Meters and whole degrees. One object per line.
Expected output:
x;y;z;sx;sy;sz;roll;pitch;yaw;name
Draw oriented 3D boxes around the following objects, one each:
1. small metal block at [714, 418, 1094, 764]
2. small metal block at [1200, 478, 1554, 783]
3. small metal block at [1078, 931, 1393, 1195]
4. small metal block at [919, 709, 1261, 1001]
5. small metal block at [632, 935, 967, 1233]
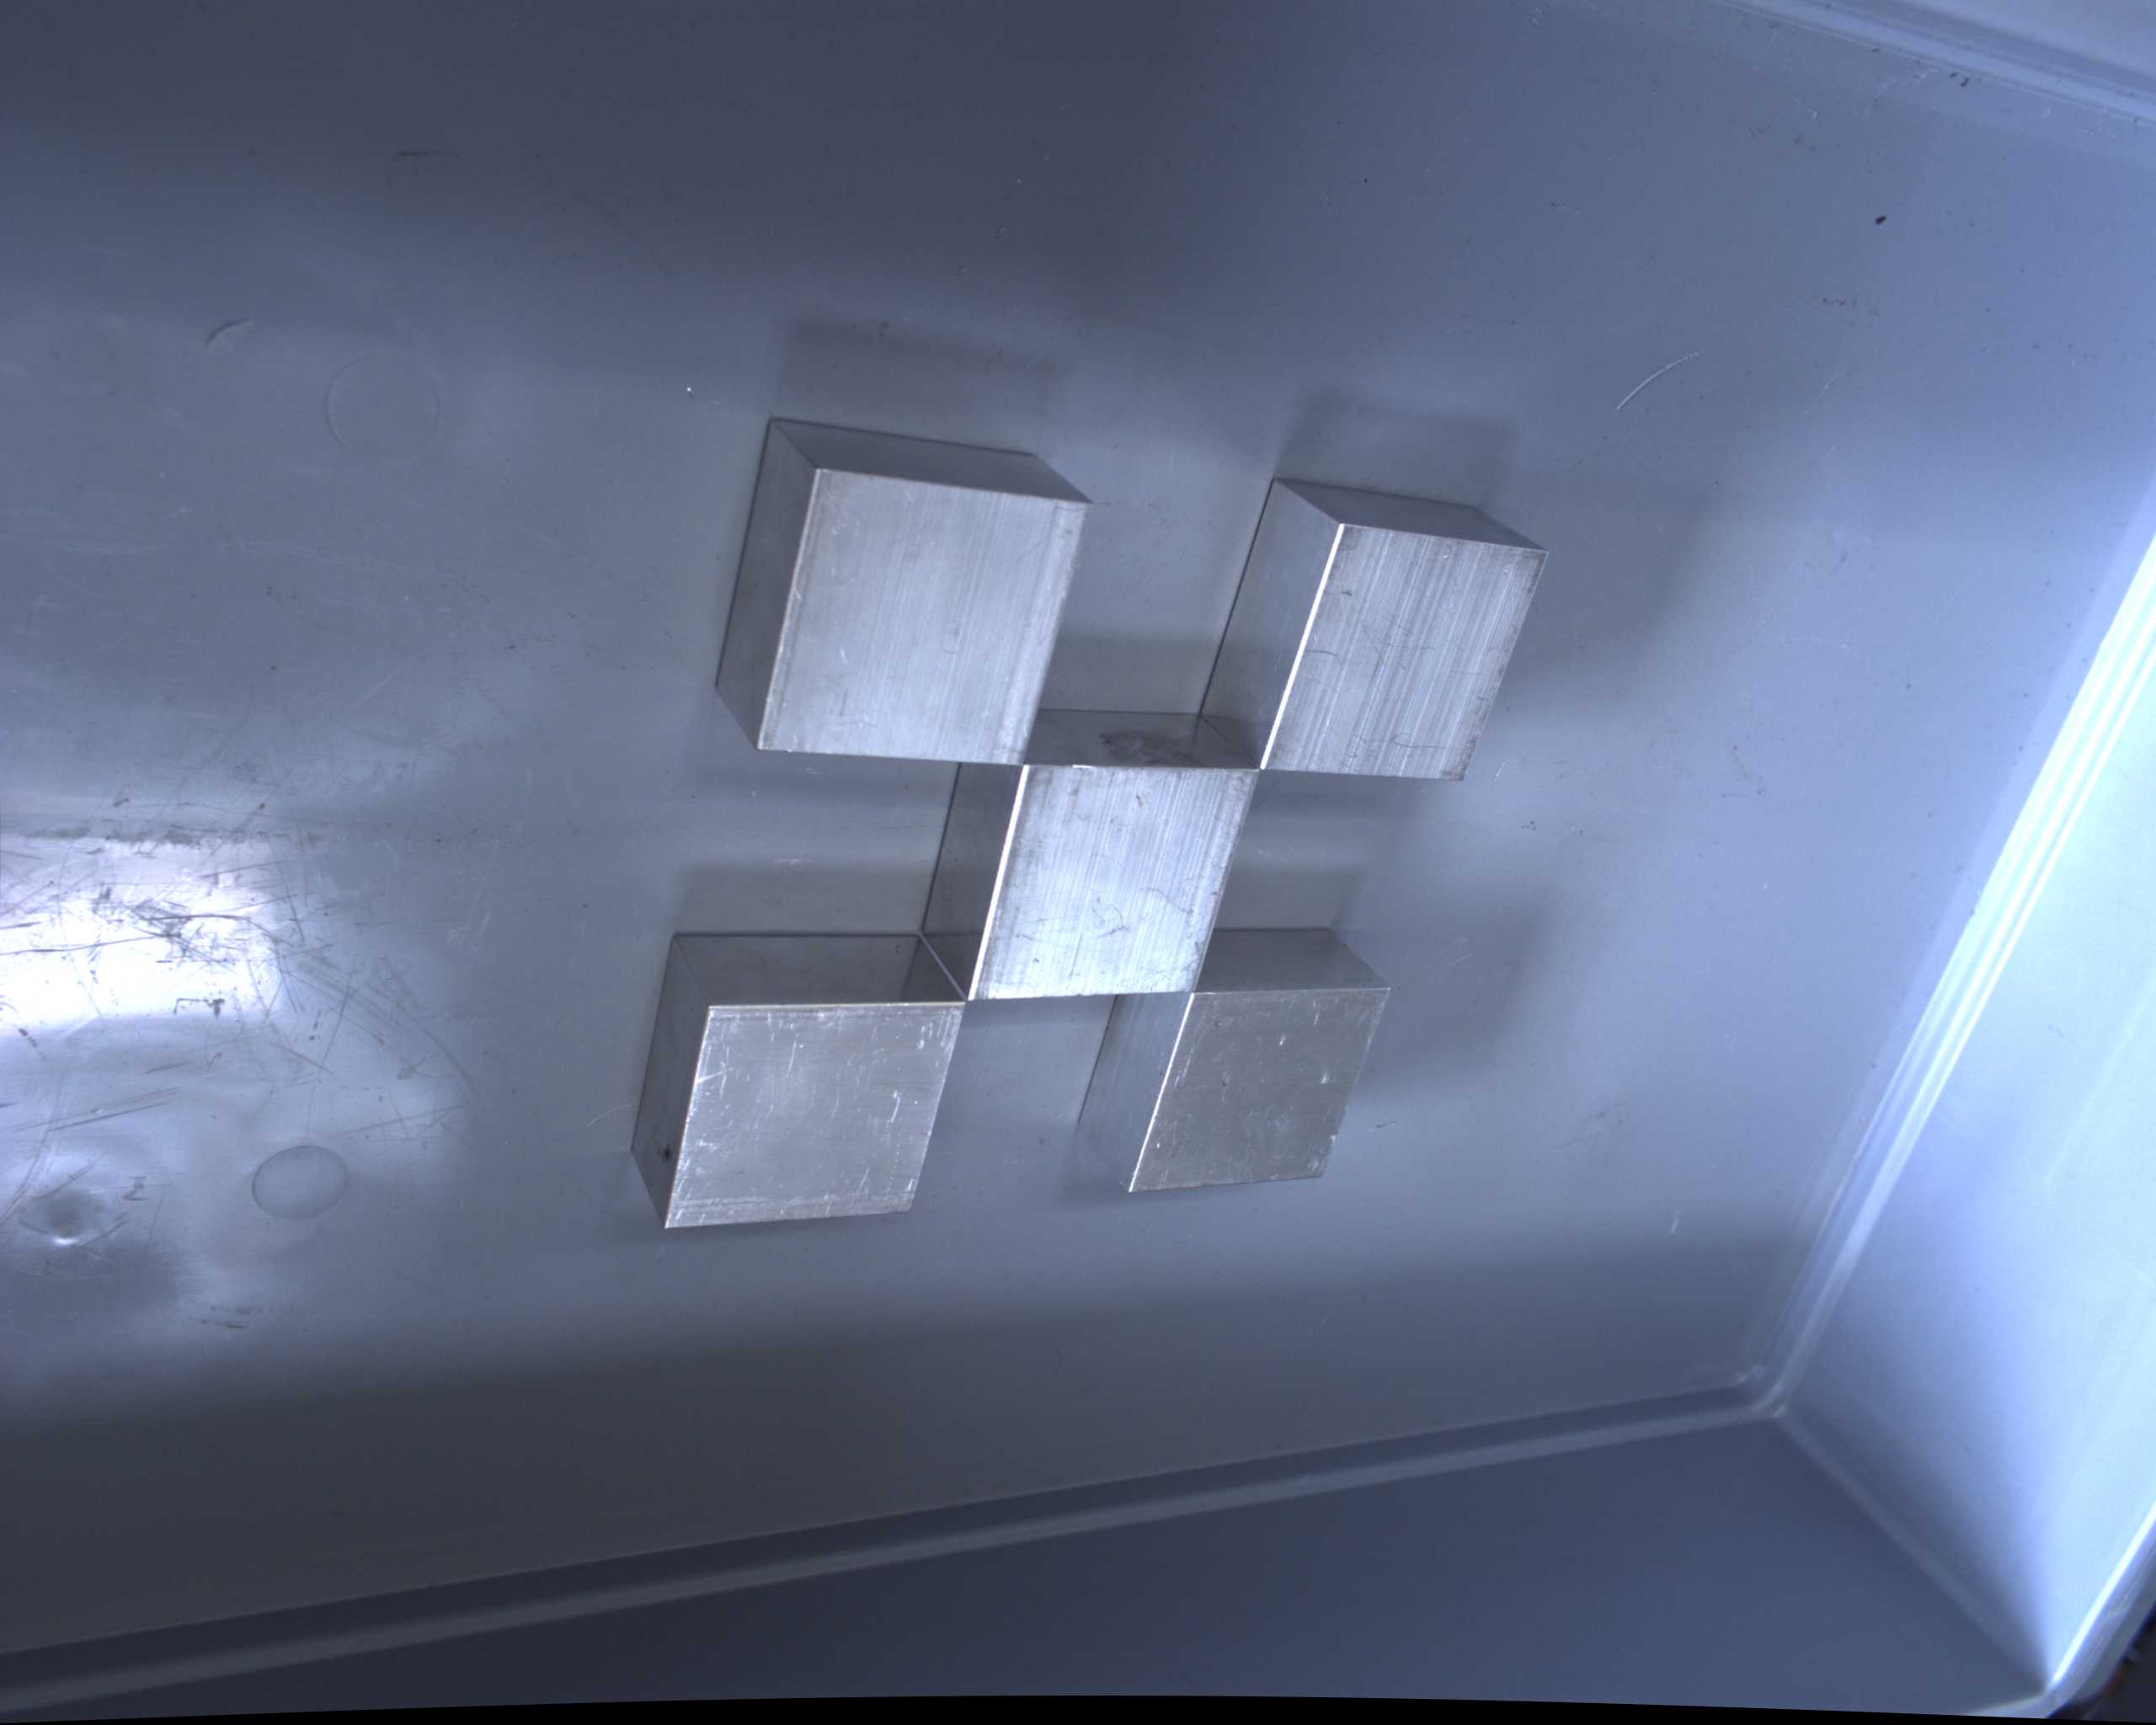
-0.031;-0.046;0.361;0.050;0.025;0.050;1;118;-29;small metal block
0.058;-0.045;0.409;0.050;0.025;0.050;2;117;-30;small metal block
0.033;0.042;0.450;0.050;0.025;0.050;1;118;-29;small metal block
0.002;-0.002;0.405;0.050;0.025;0.050;0;118;-29;small metal block
-0.054;0.042;0.402;0.050;0.025;0.050;1;118;-29;small metal block
